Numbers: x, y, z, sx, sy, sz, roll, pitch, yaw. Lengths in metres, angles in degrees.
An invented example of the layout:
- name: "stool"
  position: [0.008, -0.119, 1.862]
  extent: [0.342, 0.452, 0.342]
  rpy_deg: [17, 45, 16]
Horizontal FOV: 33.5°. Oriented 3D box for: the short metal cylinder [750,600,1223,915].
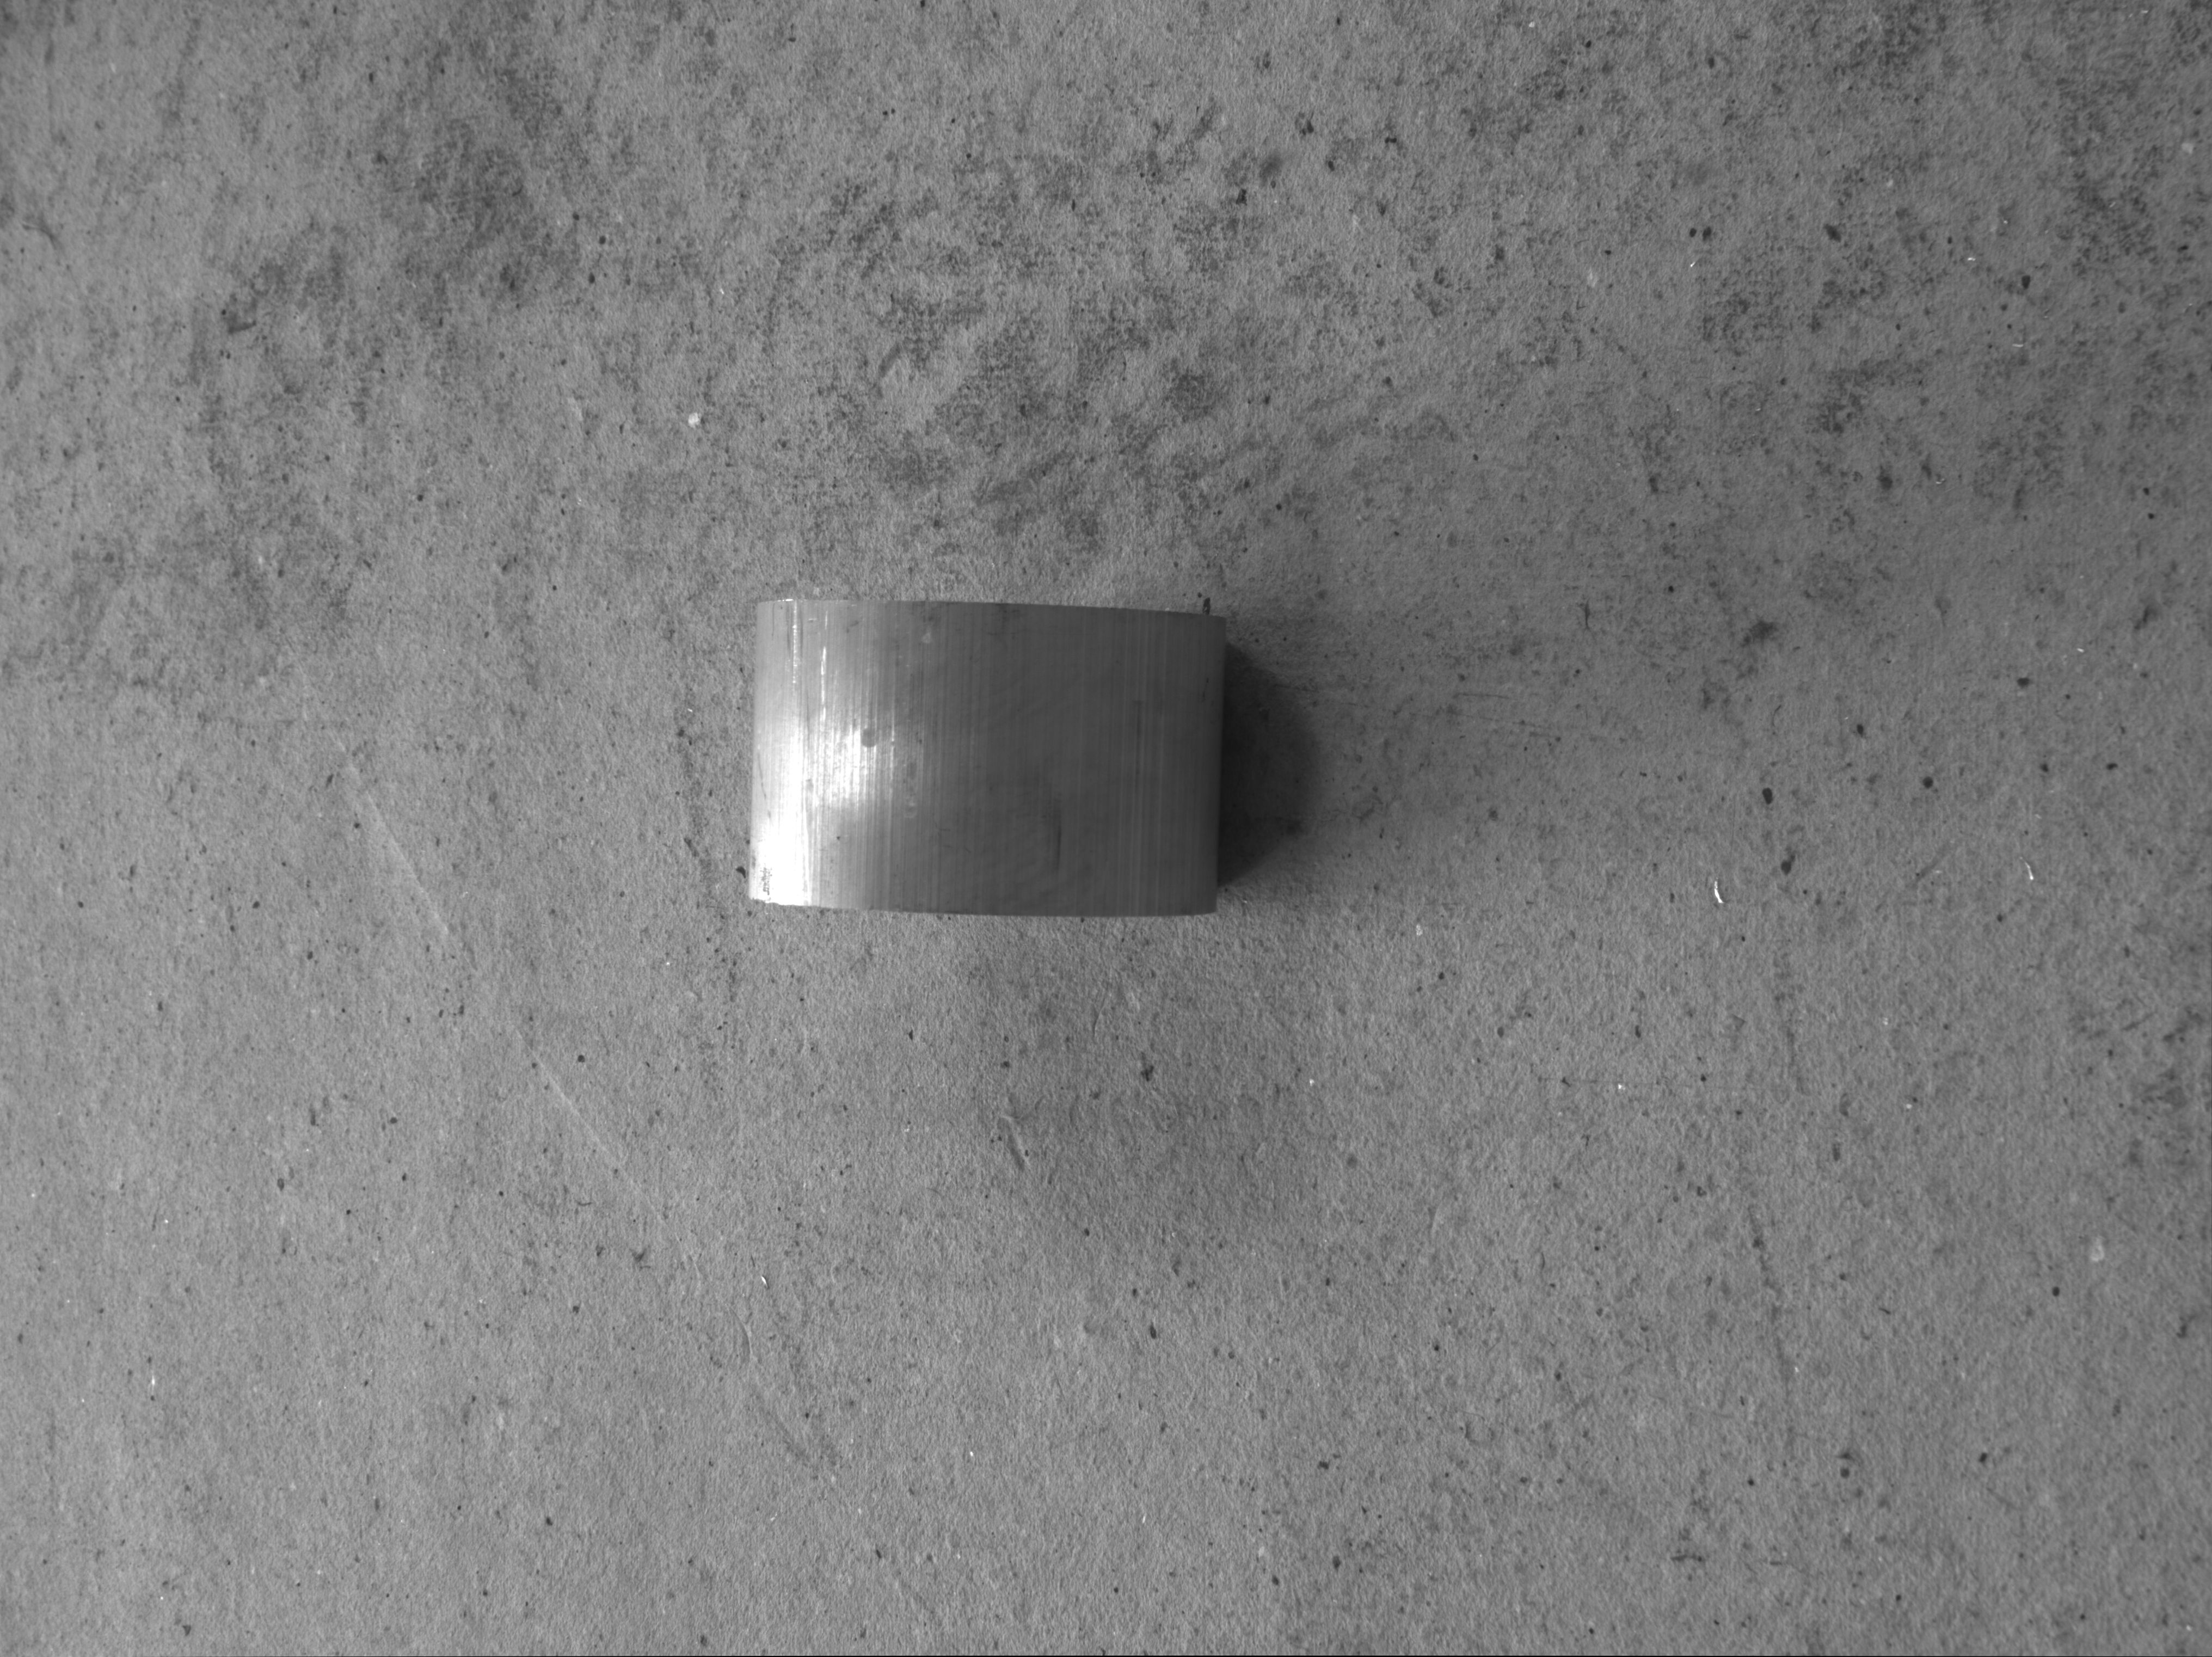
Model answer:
- name: "short metal cylinder"
  position: [-0.020, -0.012, 0.627]
  extent: [0.080, 0.080, 0.050]
  rpy_deg: [2, 91, 40]
